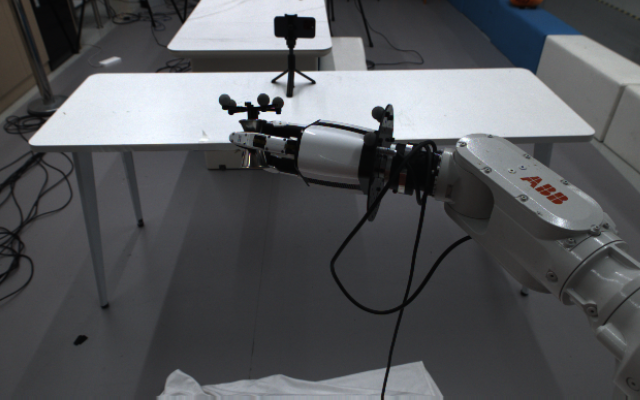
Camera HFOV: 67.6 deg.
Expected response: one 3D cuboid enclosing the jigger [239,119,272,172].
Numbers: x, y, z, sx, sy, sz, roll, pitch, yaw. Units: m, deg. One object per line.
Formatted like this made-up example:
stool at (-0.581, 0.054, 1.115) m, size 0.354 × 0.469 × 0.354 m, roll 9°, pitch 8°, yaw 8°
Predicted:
jigger at (-0.096, -0.079, 0.693) m, size 0.043 × 0.071 × 0.043 m, roll -2°, pitch 3°, yaw 0°
